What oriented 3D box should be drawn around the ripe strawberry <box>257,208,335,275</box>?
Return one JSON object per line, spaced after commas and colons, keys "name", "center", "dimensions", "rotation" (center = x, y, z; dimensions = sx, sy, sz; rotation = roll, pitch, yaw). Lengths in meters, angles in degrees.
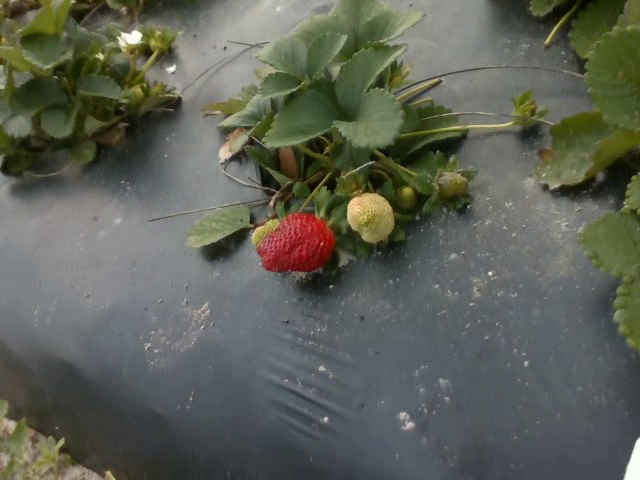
{"name": "ripe strawberry", "center": [-0.018, 0.007, 0.393], "dimensions": [0.047, 0.045, 0.059], "rotation": [10, 28, 44]}
